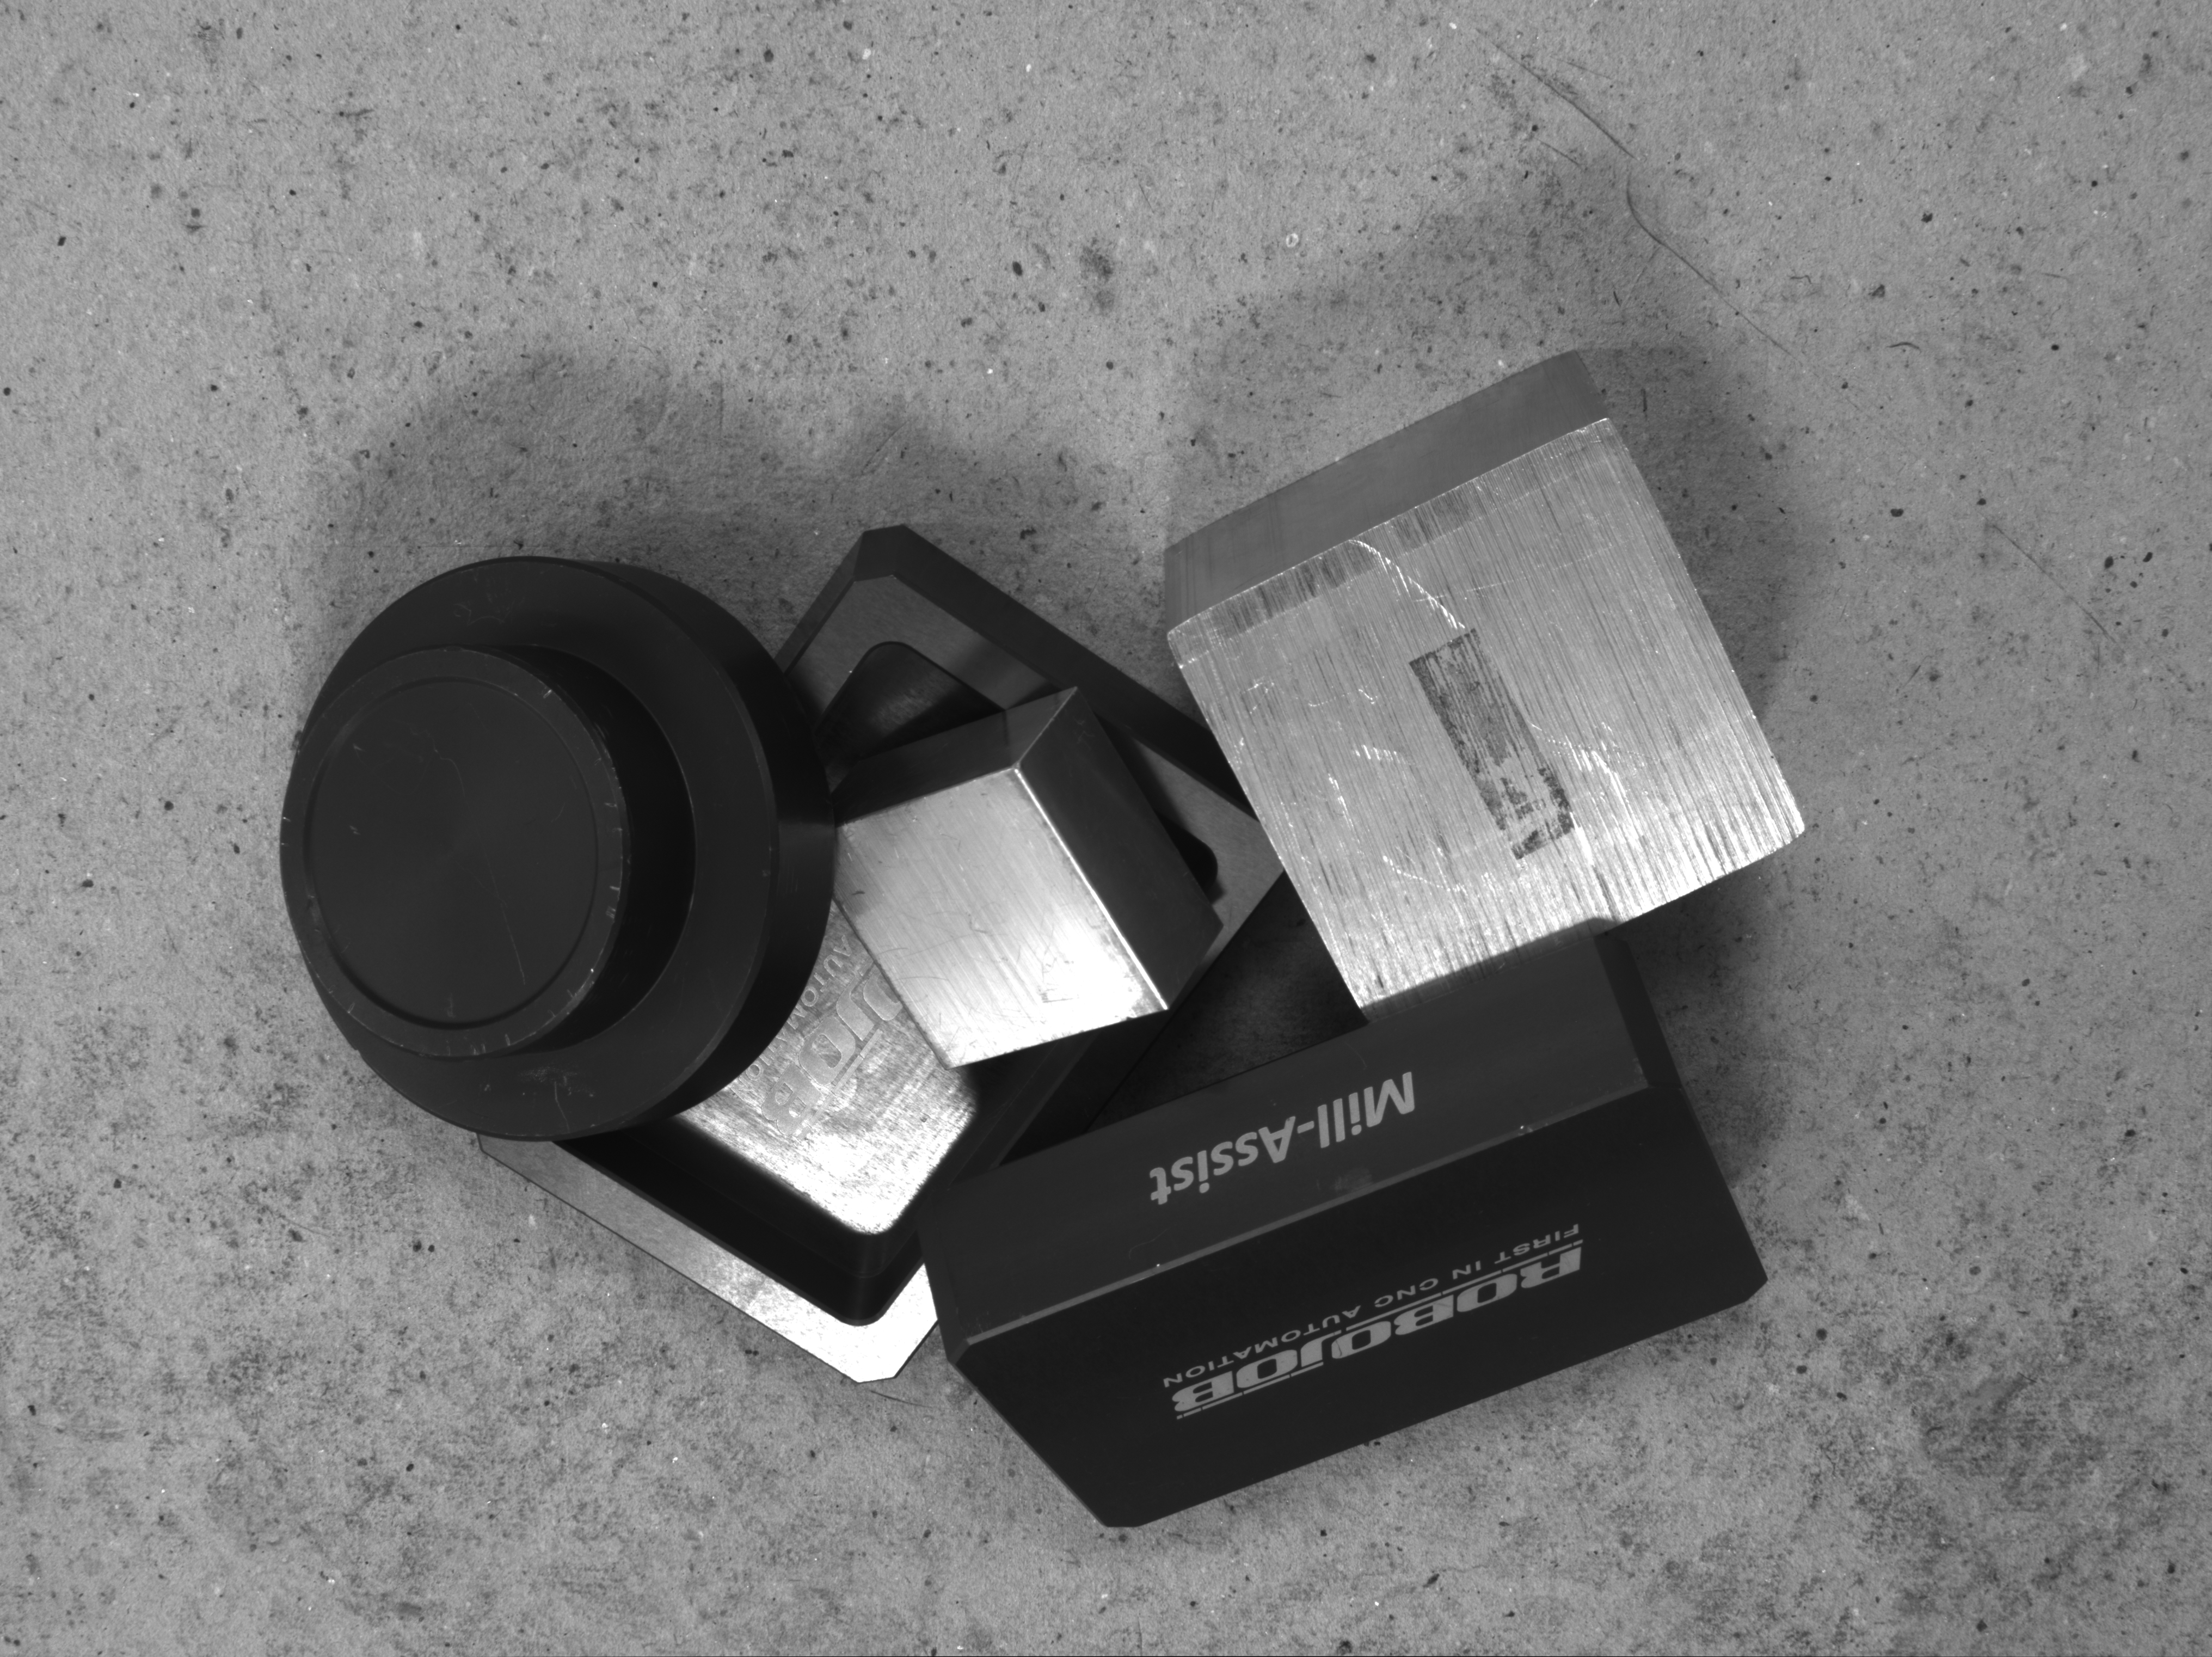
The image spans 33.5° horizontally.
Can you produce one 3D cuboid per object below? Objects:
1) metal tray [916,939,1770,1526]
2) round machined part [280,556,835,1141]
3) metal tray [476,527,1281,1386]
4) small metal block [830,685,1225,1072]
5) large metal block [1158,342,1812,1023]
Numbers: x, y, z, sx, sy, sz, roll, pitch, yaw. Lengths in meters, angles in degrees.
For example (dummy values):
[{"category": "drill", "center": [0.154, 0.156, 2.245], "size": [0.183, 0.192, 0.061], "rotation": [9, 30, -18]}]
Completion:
[{"category": "metal tray", "center": [0.043, 0.074, 0.644], "size": [0.130, 0.030, 0.090], "rotation": [-22, 145, 8]}, {"category": "round machined part", "center": [-0.098, 0.003, 0.614], "size": [0.098, 0.042, 0.098], "rotation": [1, 91, 24]}, {"category": "metal tray", "center": [-0.040, 0.024, 0.649], "size": [0.090, 0.030, 0.130], "rotation": [33, 107, -11]}, {"category": "small metal block", "center": [-0.016, 0.009, 0.623], "size": [0.050, 0.025, 0.050], "rotation": [-18, 114, 36]}, {"category": "large metal block", "center": [0.063, -0.024, 0.623], "size": [0.080, 0.050, 0.080], "rotation": [-26, 108, 9]}]
